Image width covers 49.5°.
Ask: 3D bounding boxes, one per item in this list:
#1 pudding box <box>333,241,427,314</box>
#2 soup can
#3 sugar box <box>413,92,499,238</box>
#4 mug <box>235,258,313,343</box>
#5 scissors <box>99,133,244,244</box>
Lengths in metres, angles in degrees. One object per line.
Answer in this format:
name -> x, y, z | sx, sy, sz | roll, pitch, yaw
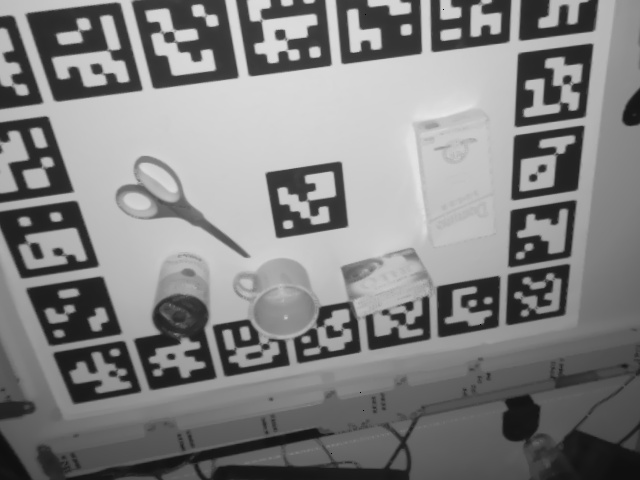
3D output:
pudding box -> 0.079, 0.048, 0.927 | 0.114, 0.090, 0.038 | -17, 111, 1
soup can -> -0.188, 0.054, 0.893 | 0.068, 0.102, 0.067 | -4, 118, -7
sugar box -> 0.179, -0.095, 0.905 | 0.093, 0.045, 0.175 | -13, 116, -4
mug -> -0.069, 0.069, 0.923 | 0.093, 0.081, 0.118 | -43, 116, 10
scissors -> -0.180, -0.049, 0.882 | 0.204, 0.016, 0.087 | 36, 96, -22
